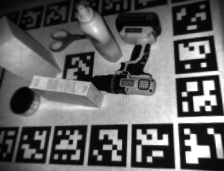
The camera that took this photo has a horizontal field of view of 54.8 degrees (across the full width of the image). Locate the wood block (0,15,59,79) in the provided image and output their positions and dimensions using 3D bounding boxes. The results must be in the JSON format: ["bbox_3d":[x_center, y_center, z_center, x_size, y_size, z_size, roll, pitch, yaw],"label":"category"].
[{"bbox_3d":[-0.258,-0.093,0.613,0.091,0.208,0.089,-32,65,8],"label":"wood block"}]

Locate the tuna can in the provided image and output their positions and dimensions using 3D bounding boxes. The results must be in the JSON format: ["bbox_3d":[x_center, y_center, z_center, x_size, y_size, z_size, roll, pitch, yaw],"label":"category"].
[{"bbox_3d":[-0.277,0.036,0.658,0.085,0.034,0.085,-5,71,17],"label":"tuna can"}]

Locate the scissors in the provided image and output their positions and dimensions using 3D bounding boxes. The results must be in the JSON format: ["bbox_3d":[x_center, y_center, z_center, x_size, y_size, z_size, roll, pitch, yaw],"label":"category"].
[{"bbox_3d":[-0.150,-0.166,0.696,0.201,0.016,0.087,-2,67,19],"label":"scissors"}]

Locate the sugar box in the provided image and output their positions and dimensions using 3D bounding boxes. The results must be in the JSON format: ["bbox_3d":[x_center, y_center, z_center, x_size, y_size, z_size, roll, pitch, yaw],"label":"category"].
[{"bbox_3d":[-0.129,0.008,0.589,0.175,0.094,0.045,8,72,20],"label":"sugar box"}]

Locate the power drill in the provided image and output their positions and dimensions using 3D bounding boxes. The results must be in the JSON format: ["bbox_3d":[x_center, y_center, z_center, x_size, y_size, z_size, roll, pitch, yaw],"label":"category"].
[{"bbox_3d":[0.014,-0.080,0.587,0.182,0.058,0.187,9,82,22],"label":"power drill"}]

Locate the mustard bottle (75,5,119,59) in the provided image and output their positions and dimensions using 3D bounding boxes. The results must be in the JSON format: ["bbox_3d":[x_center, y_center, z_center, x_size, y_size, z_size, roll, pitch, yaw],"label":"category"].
[{"bbox_3d":[-0.048,-0.143,0.564,0.058,0.193,0.095,-43,64,3],"label":"mustard bottle"}]
